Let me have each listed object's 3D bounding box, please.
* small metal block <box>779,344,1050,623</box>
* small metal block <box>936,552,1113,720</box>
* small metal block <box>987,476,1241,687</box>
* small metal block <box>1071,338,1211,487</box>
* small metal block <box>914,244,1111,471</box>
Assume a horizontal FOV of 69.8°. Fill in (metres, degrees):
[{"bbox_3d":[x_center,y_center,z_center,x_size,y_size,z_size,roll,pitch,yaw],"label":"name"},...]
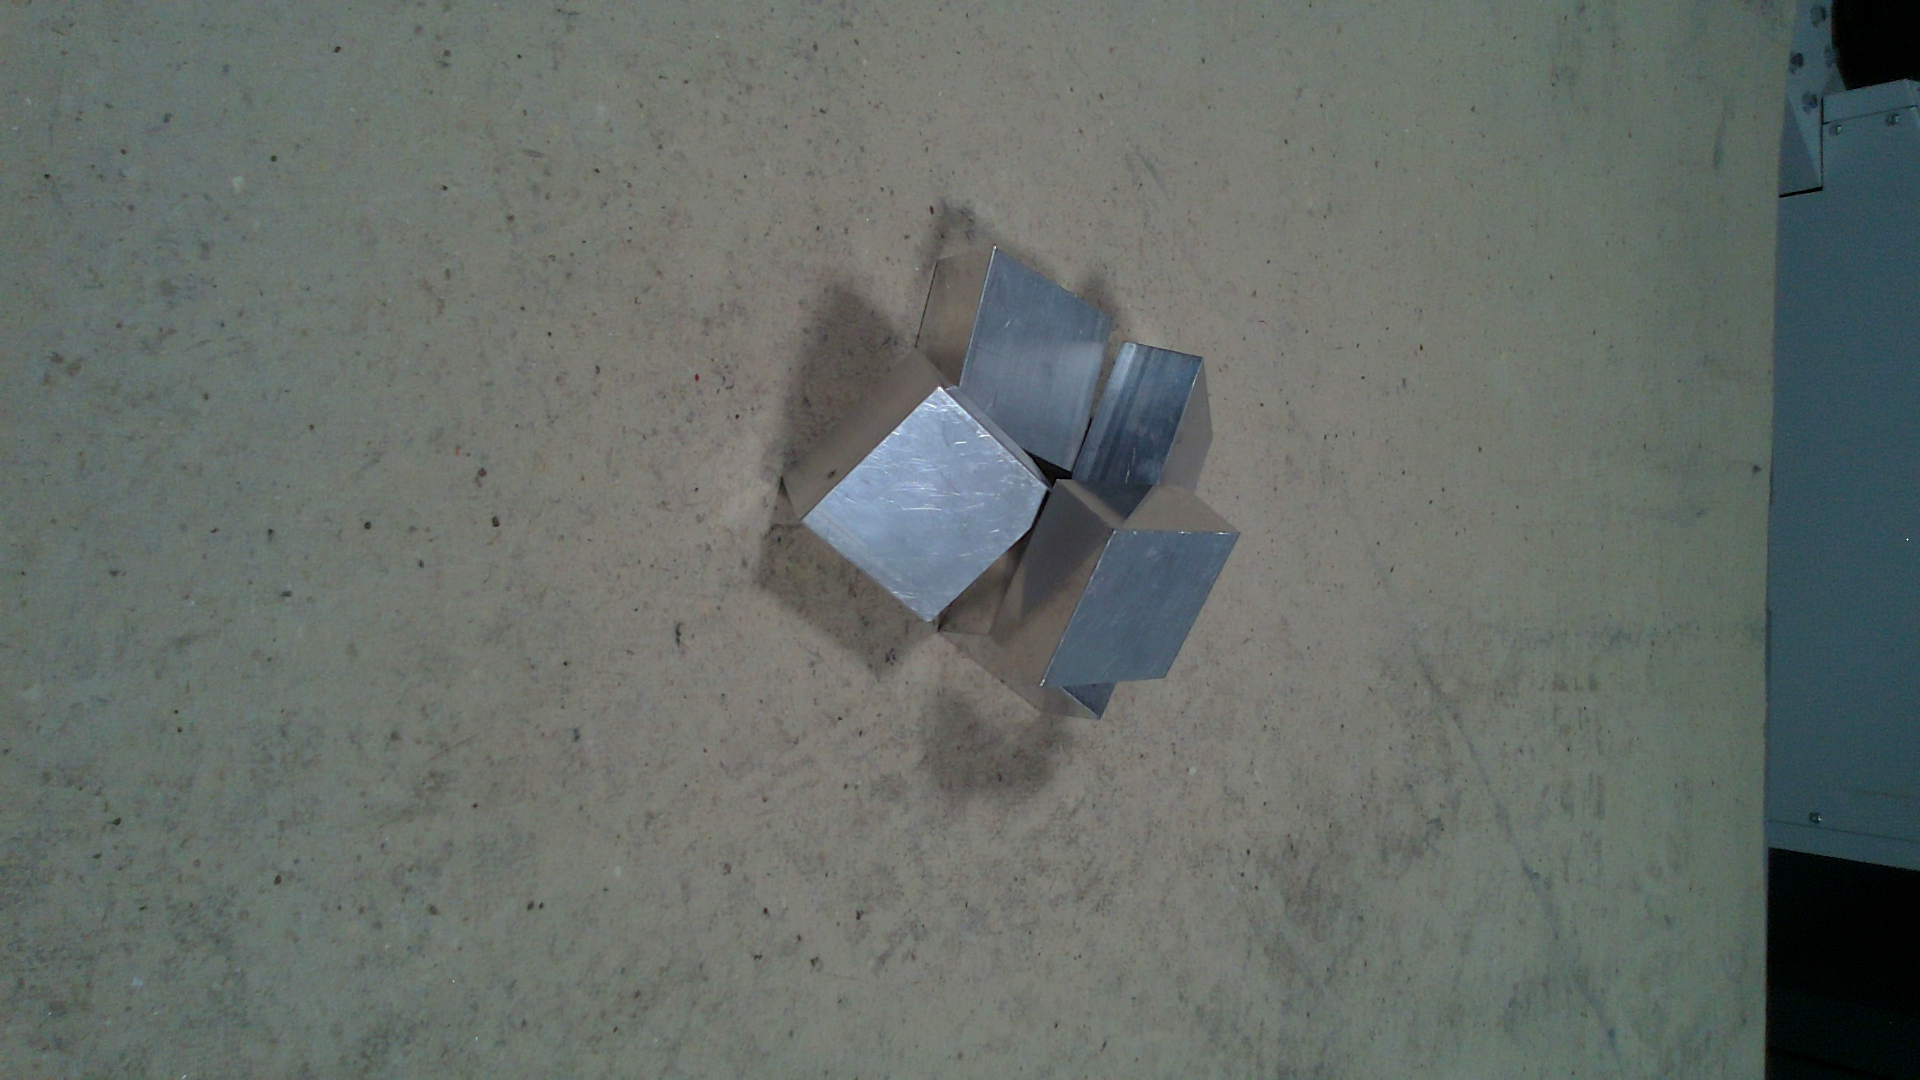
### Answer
[{"bbox_3d":[-0.011,-0.014,0.365,0.050,0.025,0.050,-43,124,9],"label":"small metal block"},{"bbox_3d":[0.028,0.019,0.413,0.050,0.025,0.050,40,66,-33],"label":"small metal block"},{"bbox_3d":[0.042,0.011,0.377,0.050,0.025,0.050,0,122,-40],"label":"small metal block"},{"bbox_3d":[0.056,-0.025,0.421,0.050,0.025,0.050,61,48,-63],"label":"small metal block"},{"bbox_3d":[0.013,-0.050,0.400,0.050,0.025,0.050,22,76,-38],"label":"small metal block"}]
